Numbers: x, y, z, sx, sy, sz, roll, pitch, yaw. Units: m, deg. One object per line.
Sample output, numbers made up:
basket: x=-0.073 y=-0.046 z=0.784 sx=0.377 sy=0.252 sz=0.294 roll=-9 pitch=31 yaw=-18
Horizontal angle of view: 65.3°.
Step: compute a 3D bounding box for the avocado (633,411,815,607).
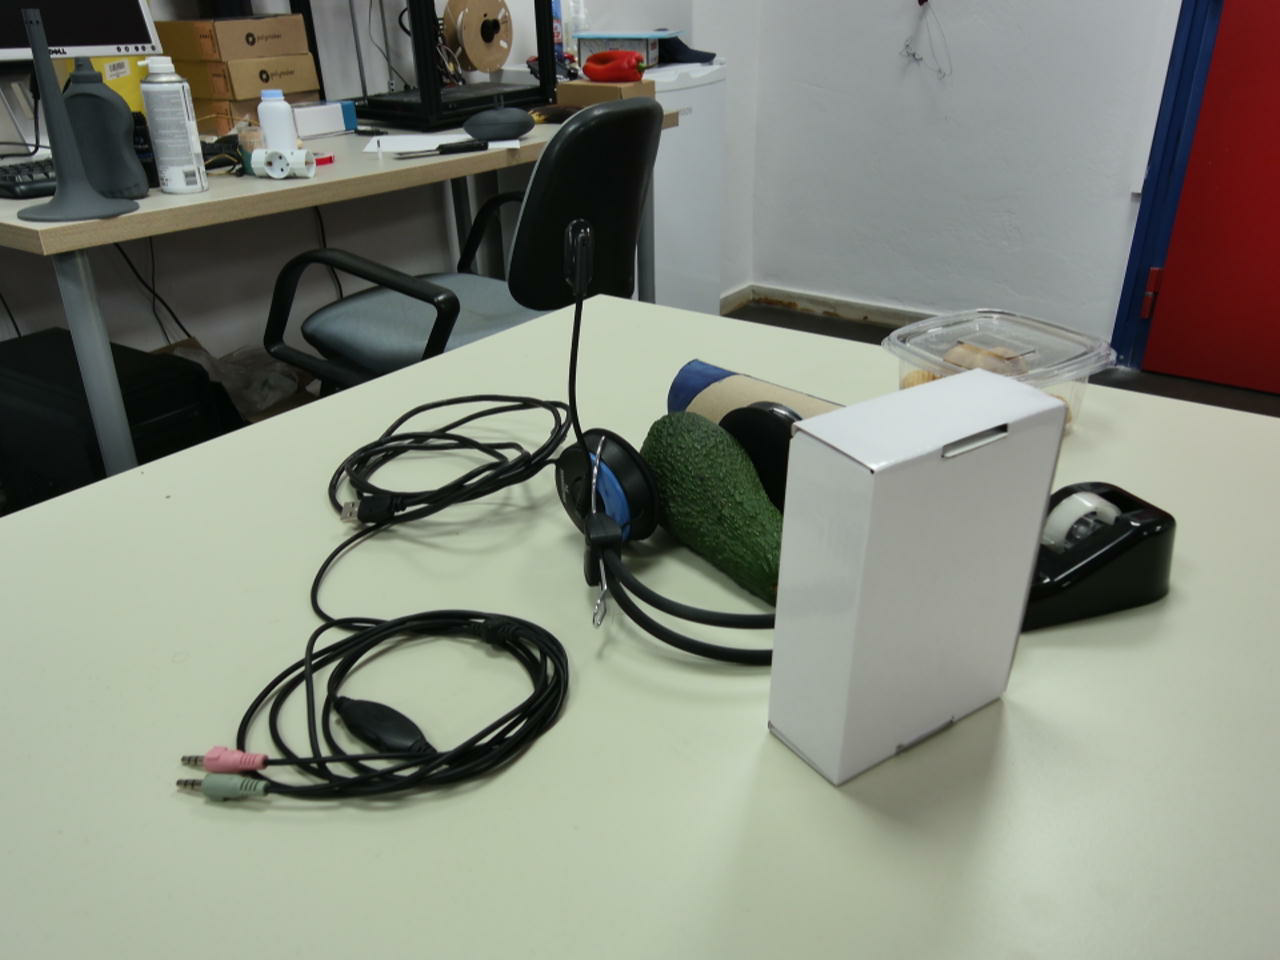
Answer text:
avocado: x=0.048 y=0.009 z=0.520 sx=0.063 sy=0.067 sz=0.141 roll=-17 pitch=30 yaw=-34
